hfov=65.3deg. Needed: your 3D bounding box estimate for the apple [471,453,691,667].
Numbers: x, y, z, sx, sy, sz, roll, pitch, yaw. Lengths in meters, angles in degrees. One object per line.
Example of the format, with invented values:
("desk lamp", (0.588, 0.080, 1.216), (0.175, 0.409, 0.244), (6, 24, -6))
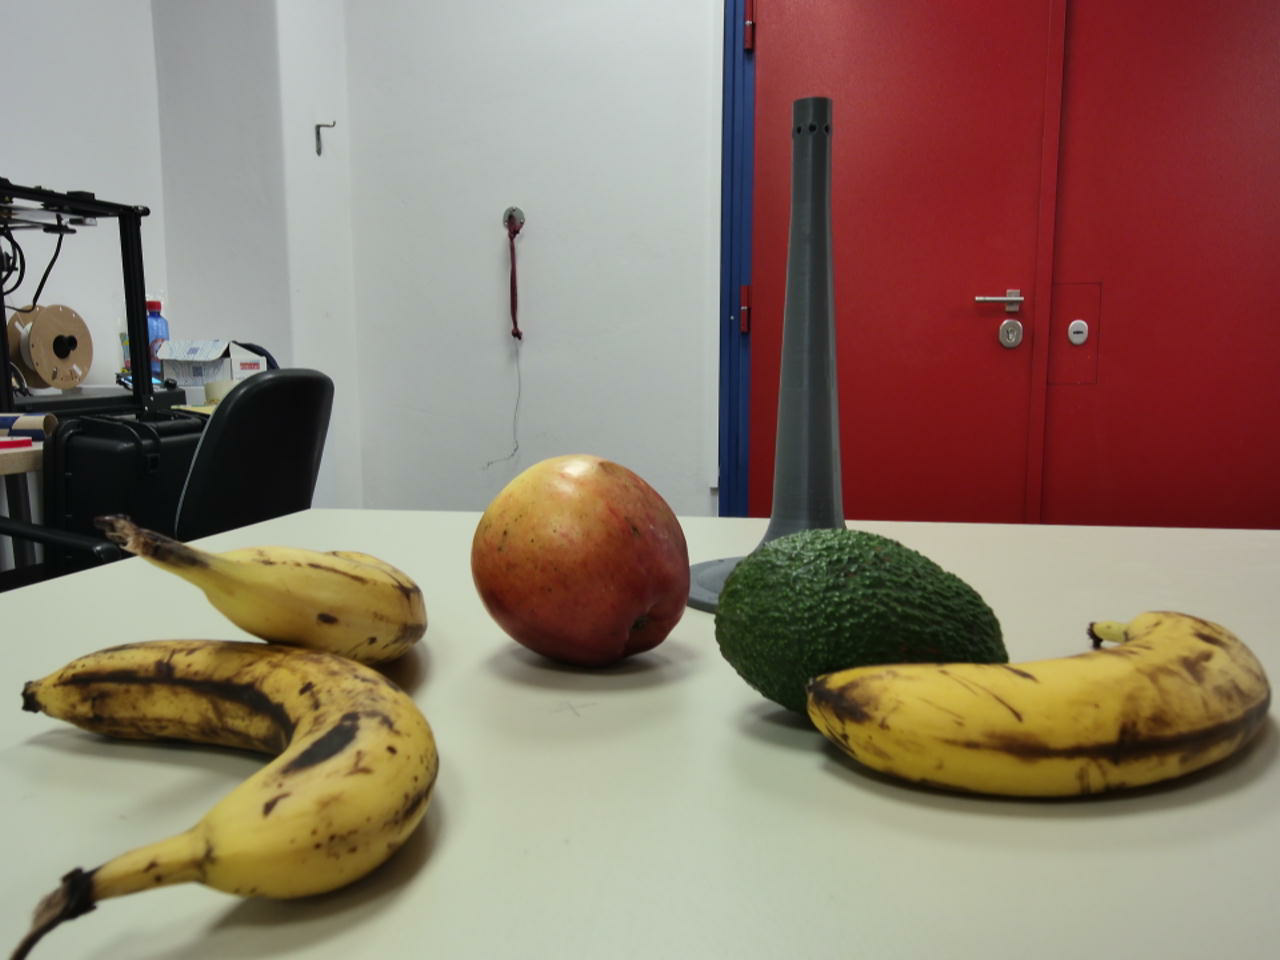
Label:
("apple", (-0.025, 0.032, 0.417), (0.086, 0.084, 0.093), (-2, 4, -24))
